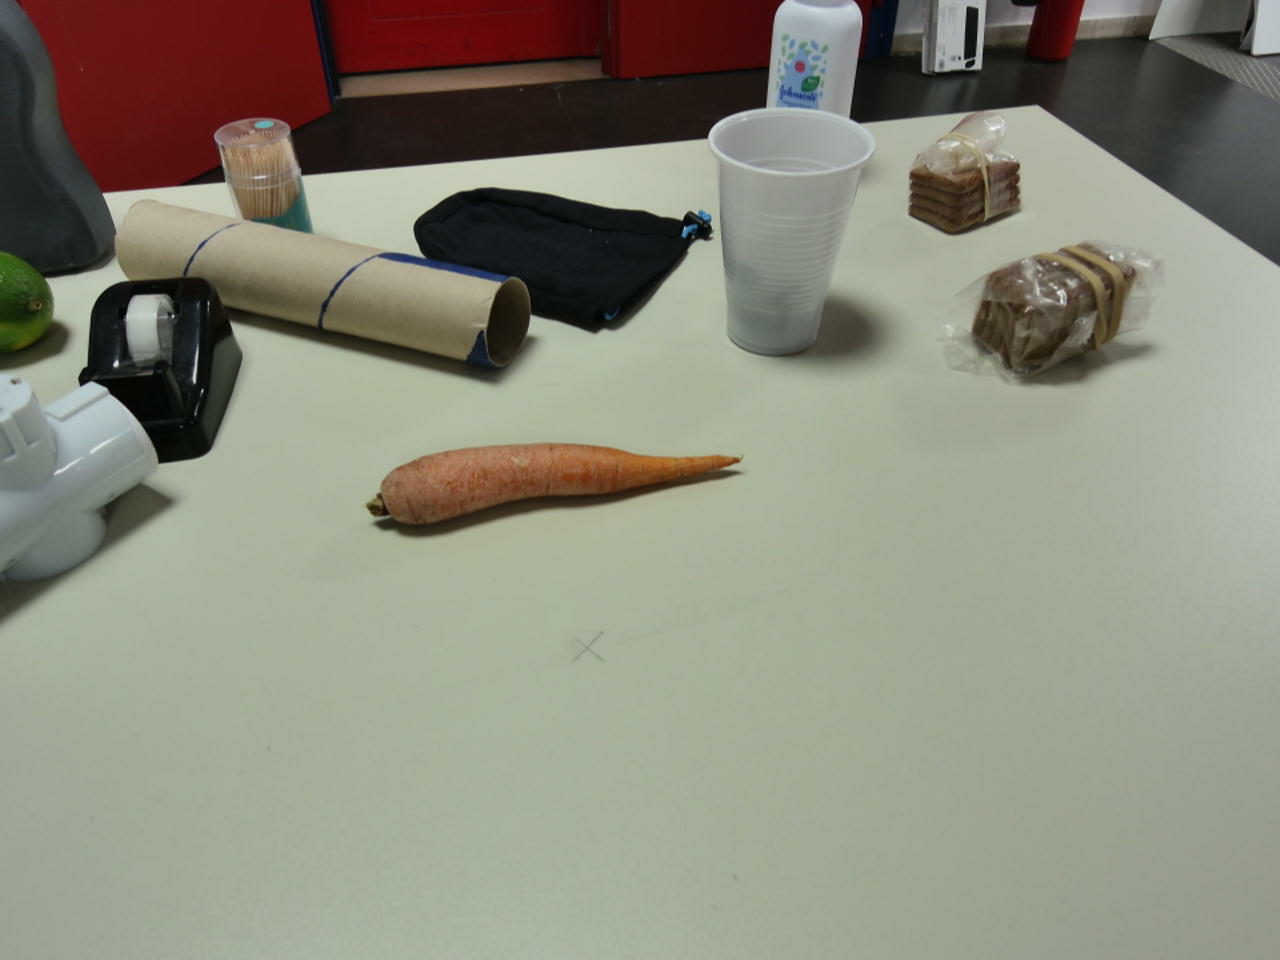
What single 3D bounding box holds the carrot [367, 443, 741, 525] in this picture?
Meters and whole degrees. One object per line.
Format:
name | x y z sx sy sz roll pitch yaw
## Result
carrot | -0.037 -0.005 0.437 0.163 0.029 0.031 -8 39 -10
